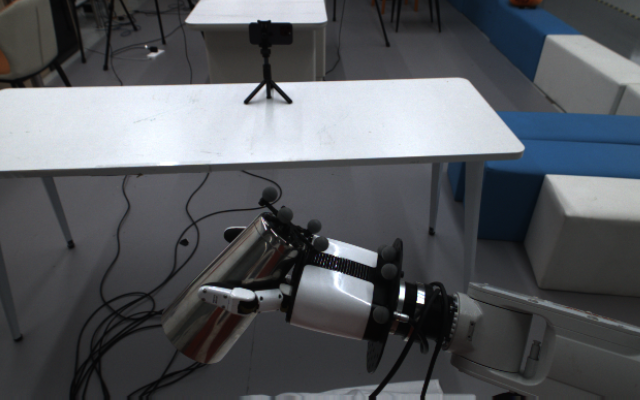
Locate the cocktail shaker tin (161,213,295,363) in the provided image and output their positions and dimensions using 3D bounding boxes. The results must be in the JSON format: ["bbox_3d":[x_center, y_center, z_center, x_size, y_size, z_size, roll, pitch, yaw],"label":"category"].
[{"bbox_3d":[-0.095,0.093,0.567,0.093,0.170,0.093,41,13,-12],"label":"cocktail shaker tin"}]
